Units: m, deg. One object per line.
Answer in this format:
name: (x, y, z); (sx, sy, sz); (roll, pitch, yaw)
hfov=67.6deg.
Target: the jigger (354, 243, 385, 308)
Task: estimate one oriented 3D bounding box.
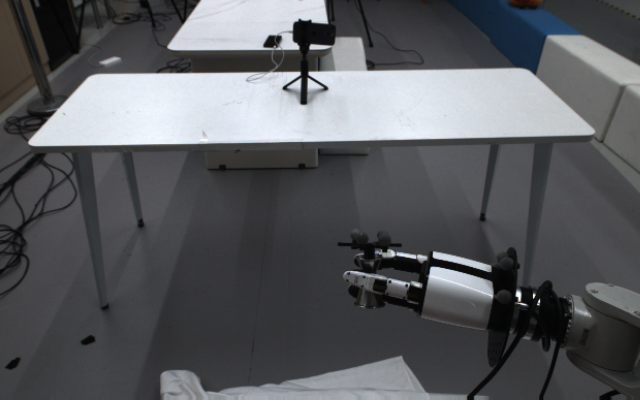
jigger: (0.070, 0.112, 0.682); (0.043, 0.071, 0.043); (-1, 2, 0)
